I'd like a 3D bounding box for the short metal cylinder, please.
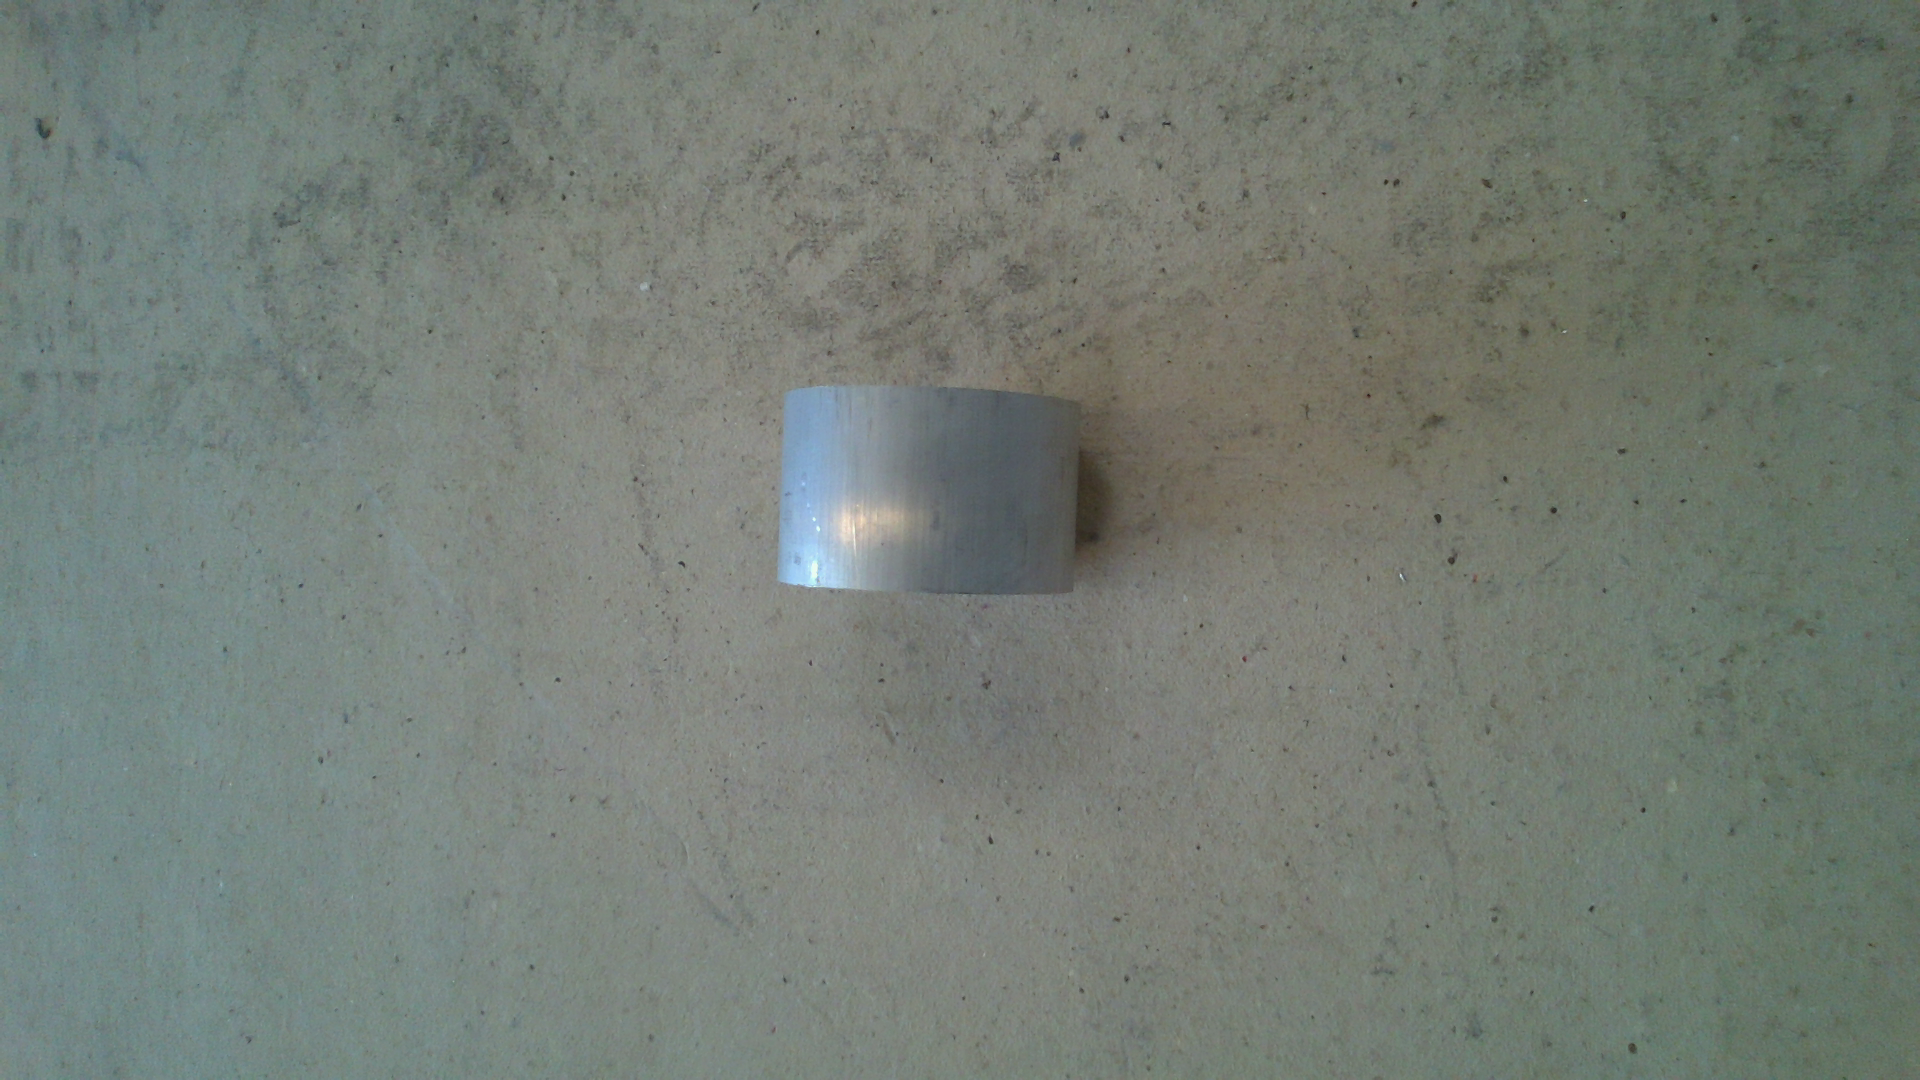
[{"bbox_3d":[-0.008,-0.013,0.370,0.080,0.080,0.050,2,91,20],"label":"short metal cylinder"}]
